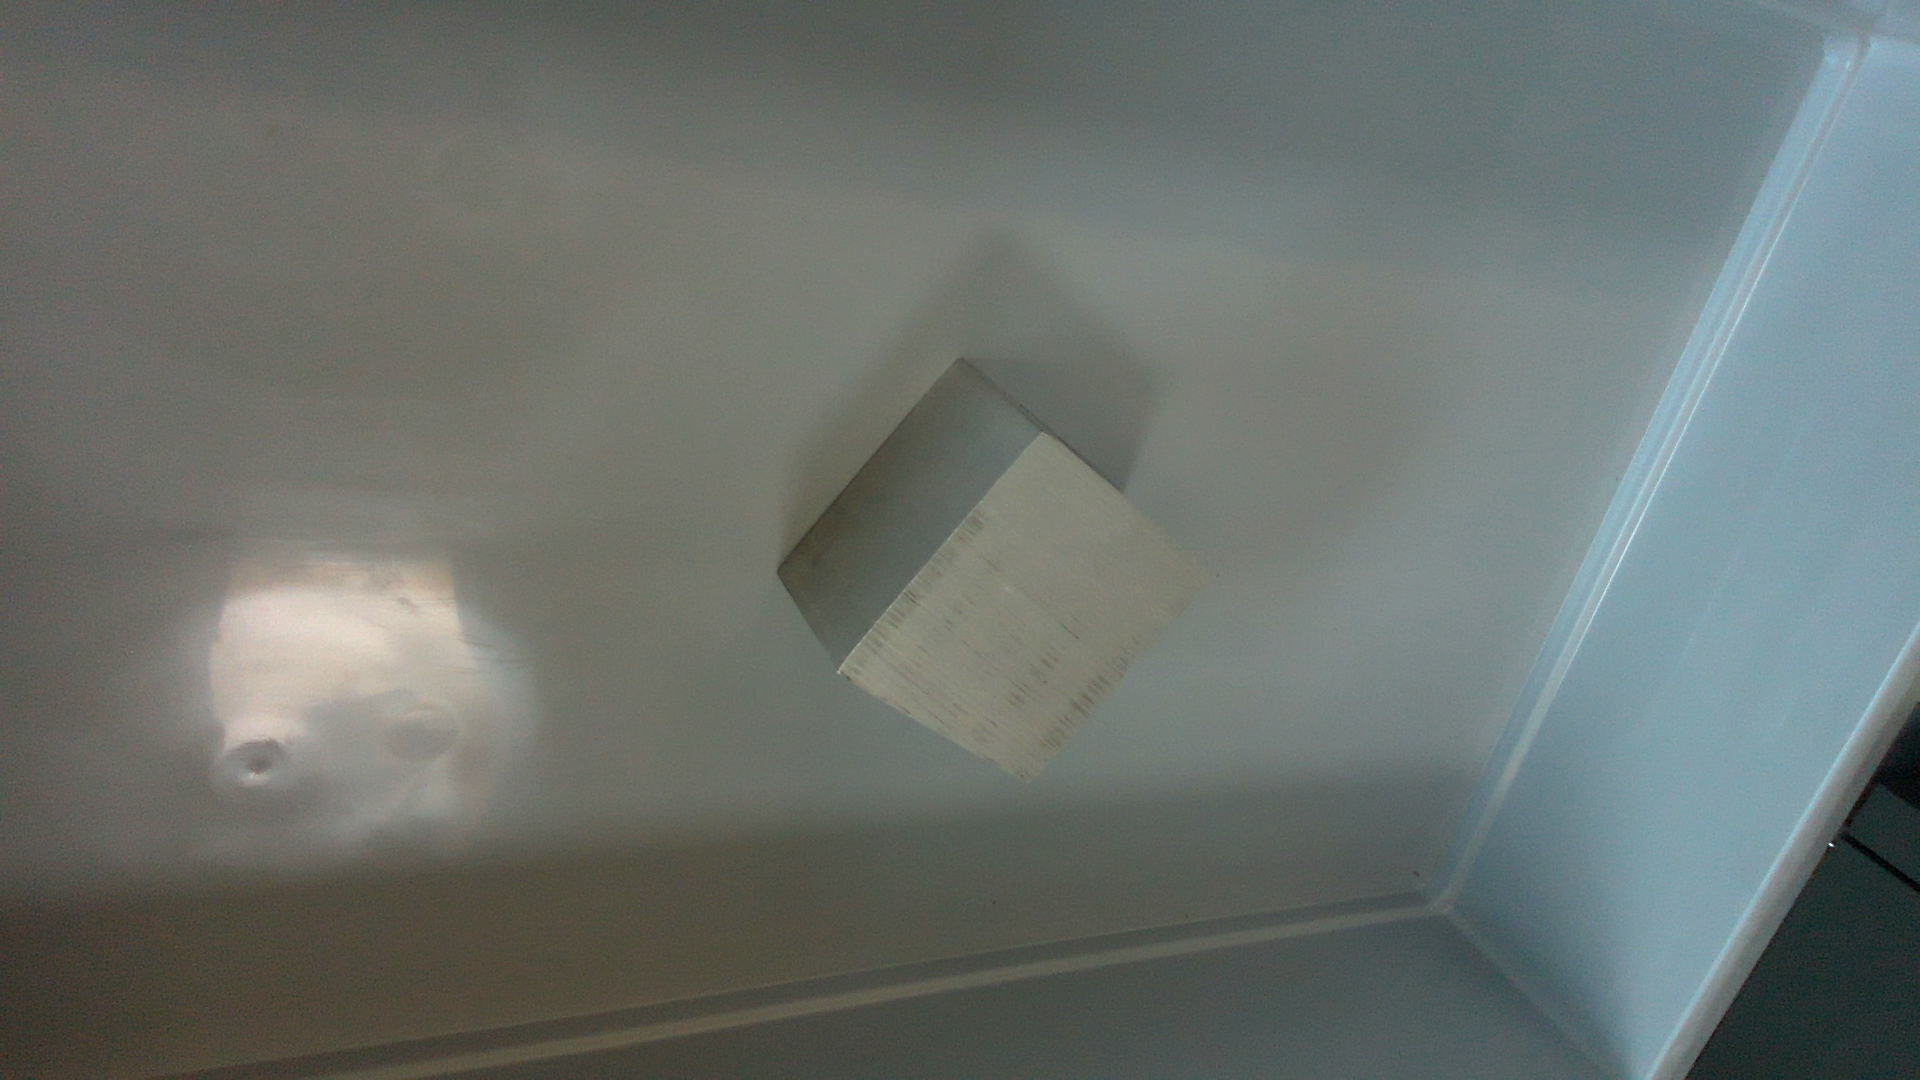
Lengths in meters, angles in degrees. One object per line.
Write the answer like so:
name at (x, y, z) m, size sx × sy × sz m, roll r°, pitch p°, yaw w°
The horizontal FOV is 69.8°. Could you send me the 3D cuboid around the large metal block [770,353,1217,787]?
large metal block at (0.010, 0.010, 0.380) m, size 0.080 × 0.050 × 0.080 m, roll -50°, pitch 129°, yaw 6°
